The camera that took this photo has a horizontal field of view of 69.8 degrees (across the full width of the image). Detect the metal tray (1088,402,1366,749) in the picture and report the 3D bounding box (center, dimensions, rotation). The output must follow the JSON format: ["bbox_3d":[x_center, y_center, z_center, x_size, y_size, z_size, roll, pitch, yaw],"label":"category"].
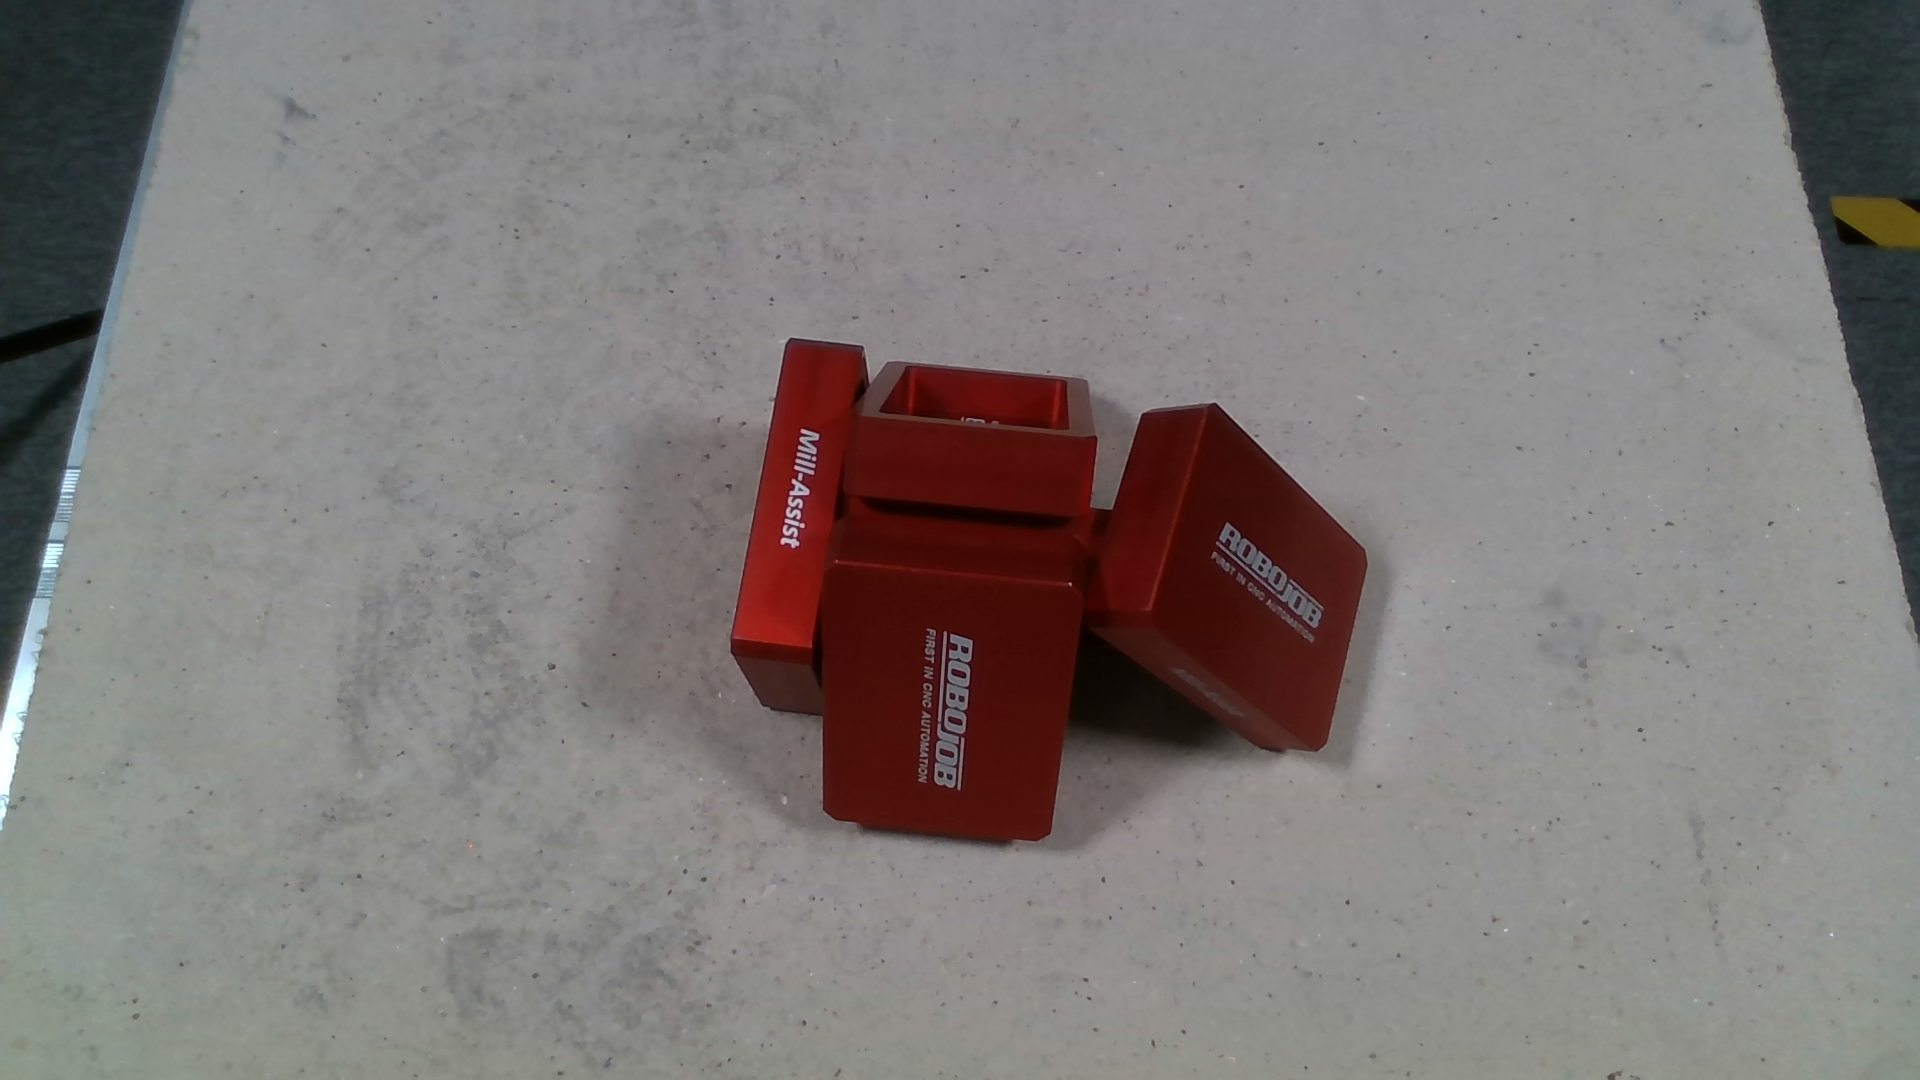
[{"bbox_3d":[0.107,0.017,0.533,0.030,0.130,0.090,-1,64,44],"label":"metal tray"}]

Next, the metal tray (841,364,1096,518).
[{"bbox_3d":[0.006,-0.044,0.552,0.090,0.130,0.030,6,106,2],"label":"metal tray"}]

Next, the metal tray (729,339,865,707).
[{"bbox_3d":[-0.061,-0.004,0.555,0.030,0.090,0.130,7,70,2],"label":"metal tray"}]

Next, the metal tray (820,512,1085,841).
[{"bbox_3d":[-0.005,0.054,0.516,0.090,0.130,0.030,6,37,2],"label":"metal tray"}]

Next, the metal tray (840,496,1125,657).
[{"bbox_3d":[0.019,0.014,0.548,0.130,0.090,0.030,7,70,2],"label":"metal tray"}]
